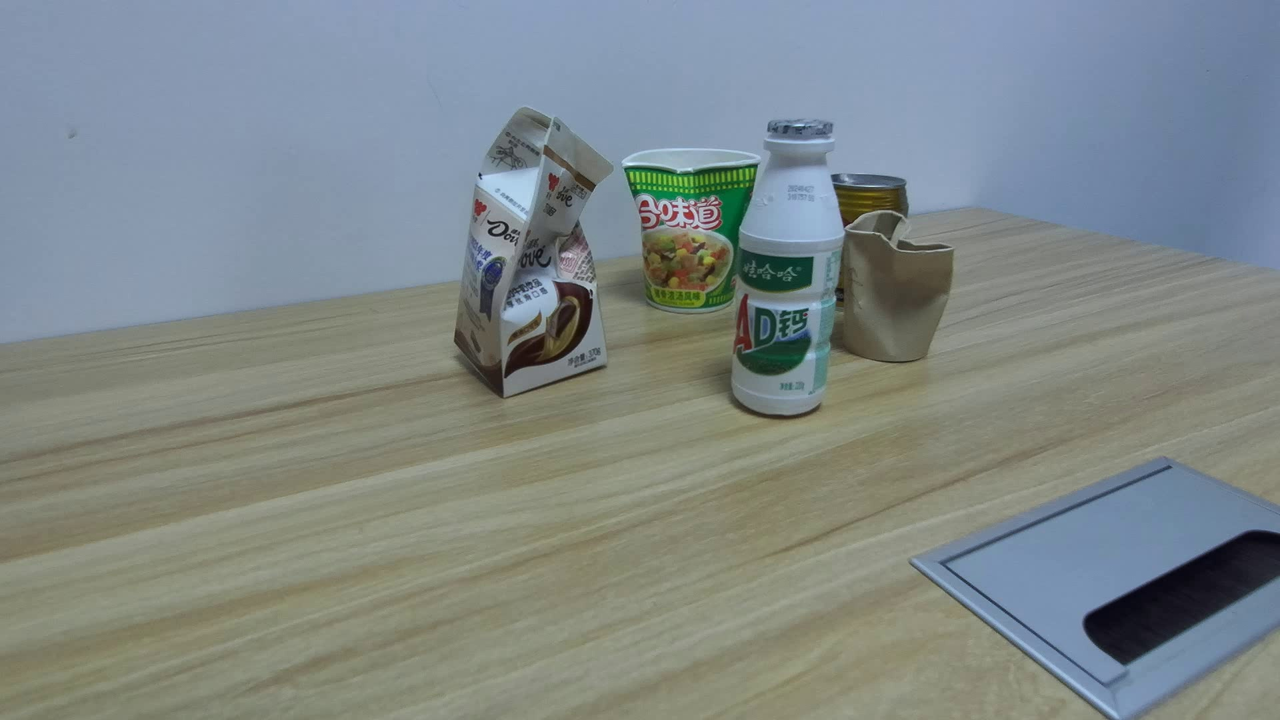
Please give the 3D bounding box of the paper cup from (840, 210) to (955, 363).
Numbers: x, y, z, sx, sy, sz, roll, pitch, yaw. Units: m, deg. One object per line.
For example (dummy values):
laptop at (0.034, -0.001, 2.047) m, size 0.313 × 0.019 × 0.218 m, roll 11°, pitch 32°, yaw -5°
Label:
paper cup at (0.162, -0.044, 0.443) m, size 0.058 × 0.083 × 0.067 m, roll 18°, pitch 31°, yaw 27°

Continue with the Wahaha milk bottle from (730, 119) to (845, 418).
Wahaha milk bottle at (0.075, -0.046, 0.363) m, size 0.053 × 0.147 × 0.053 m, roll 0°, pitch 23°, yaw 0°

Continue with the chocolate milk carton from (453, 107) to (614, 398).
chocolate milk carton at (-0.059, -0.063, 0.417) m, size 0.090 × 0.155 × 0.076 m, roll -3°, pitch 23°, yaw -42°

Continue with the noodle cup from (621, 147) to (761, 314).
noodle cup at (0.042, -0.098, 0.531) m, size 0.093 × 0.109 × 0.087 m, roll 10°, pitch 26°, yaw 23°

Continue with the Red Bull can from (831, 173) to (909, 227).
Red Bull can at (0.167, -0.094, 0.544) m, size 0.068 × 0.093 × 0.068 m, roll -1°, pitch 24°, yaw 1°
